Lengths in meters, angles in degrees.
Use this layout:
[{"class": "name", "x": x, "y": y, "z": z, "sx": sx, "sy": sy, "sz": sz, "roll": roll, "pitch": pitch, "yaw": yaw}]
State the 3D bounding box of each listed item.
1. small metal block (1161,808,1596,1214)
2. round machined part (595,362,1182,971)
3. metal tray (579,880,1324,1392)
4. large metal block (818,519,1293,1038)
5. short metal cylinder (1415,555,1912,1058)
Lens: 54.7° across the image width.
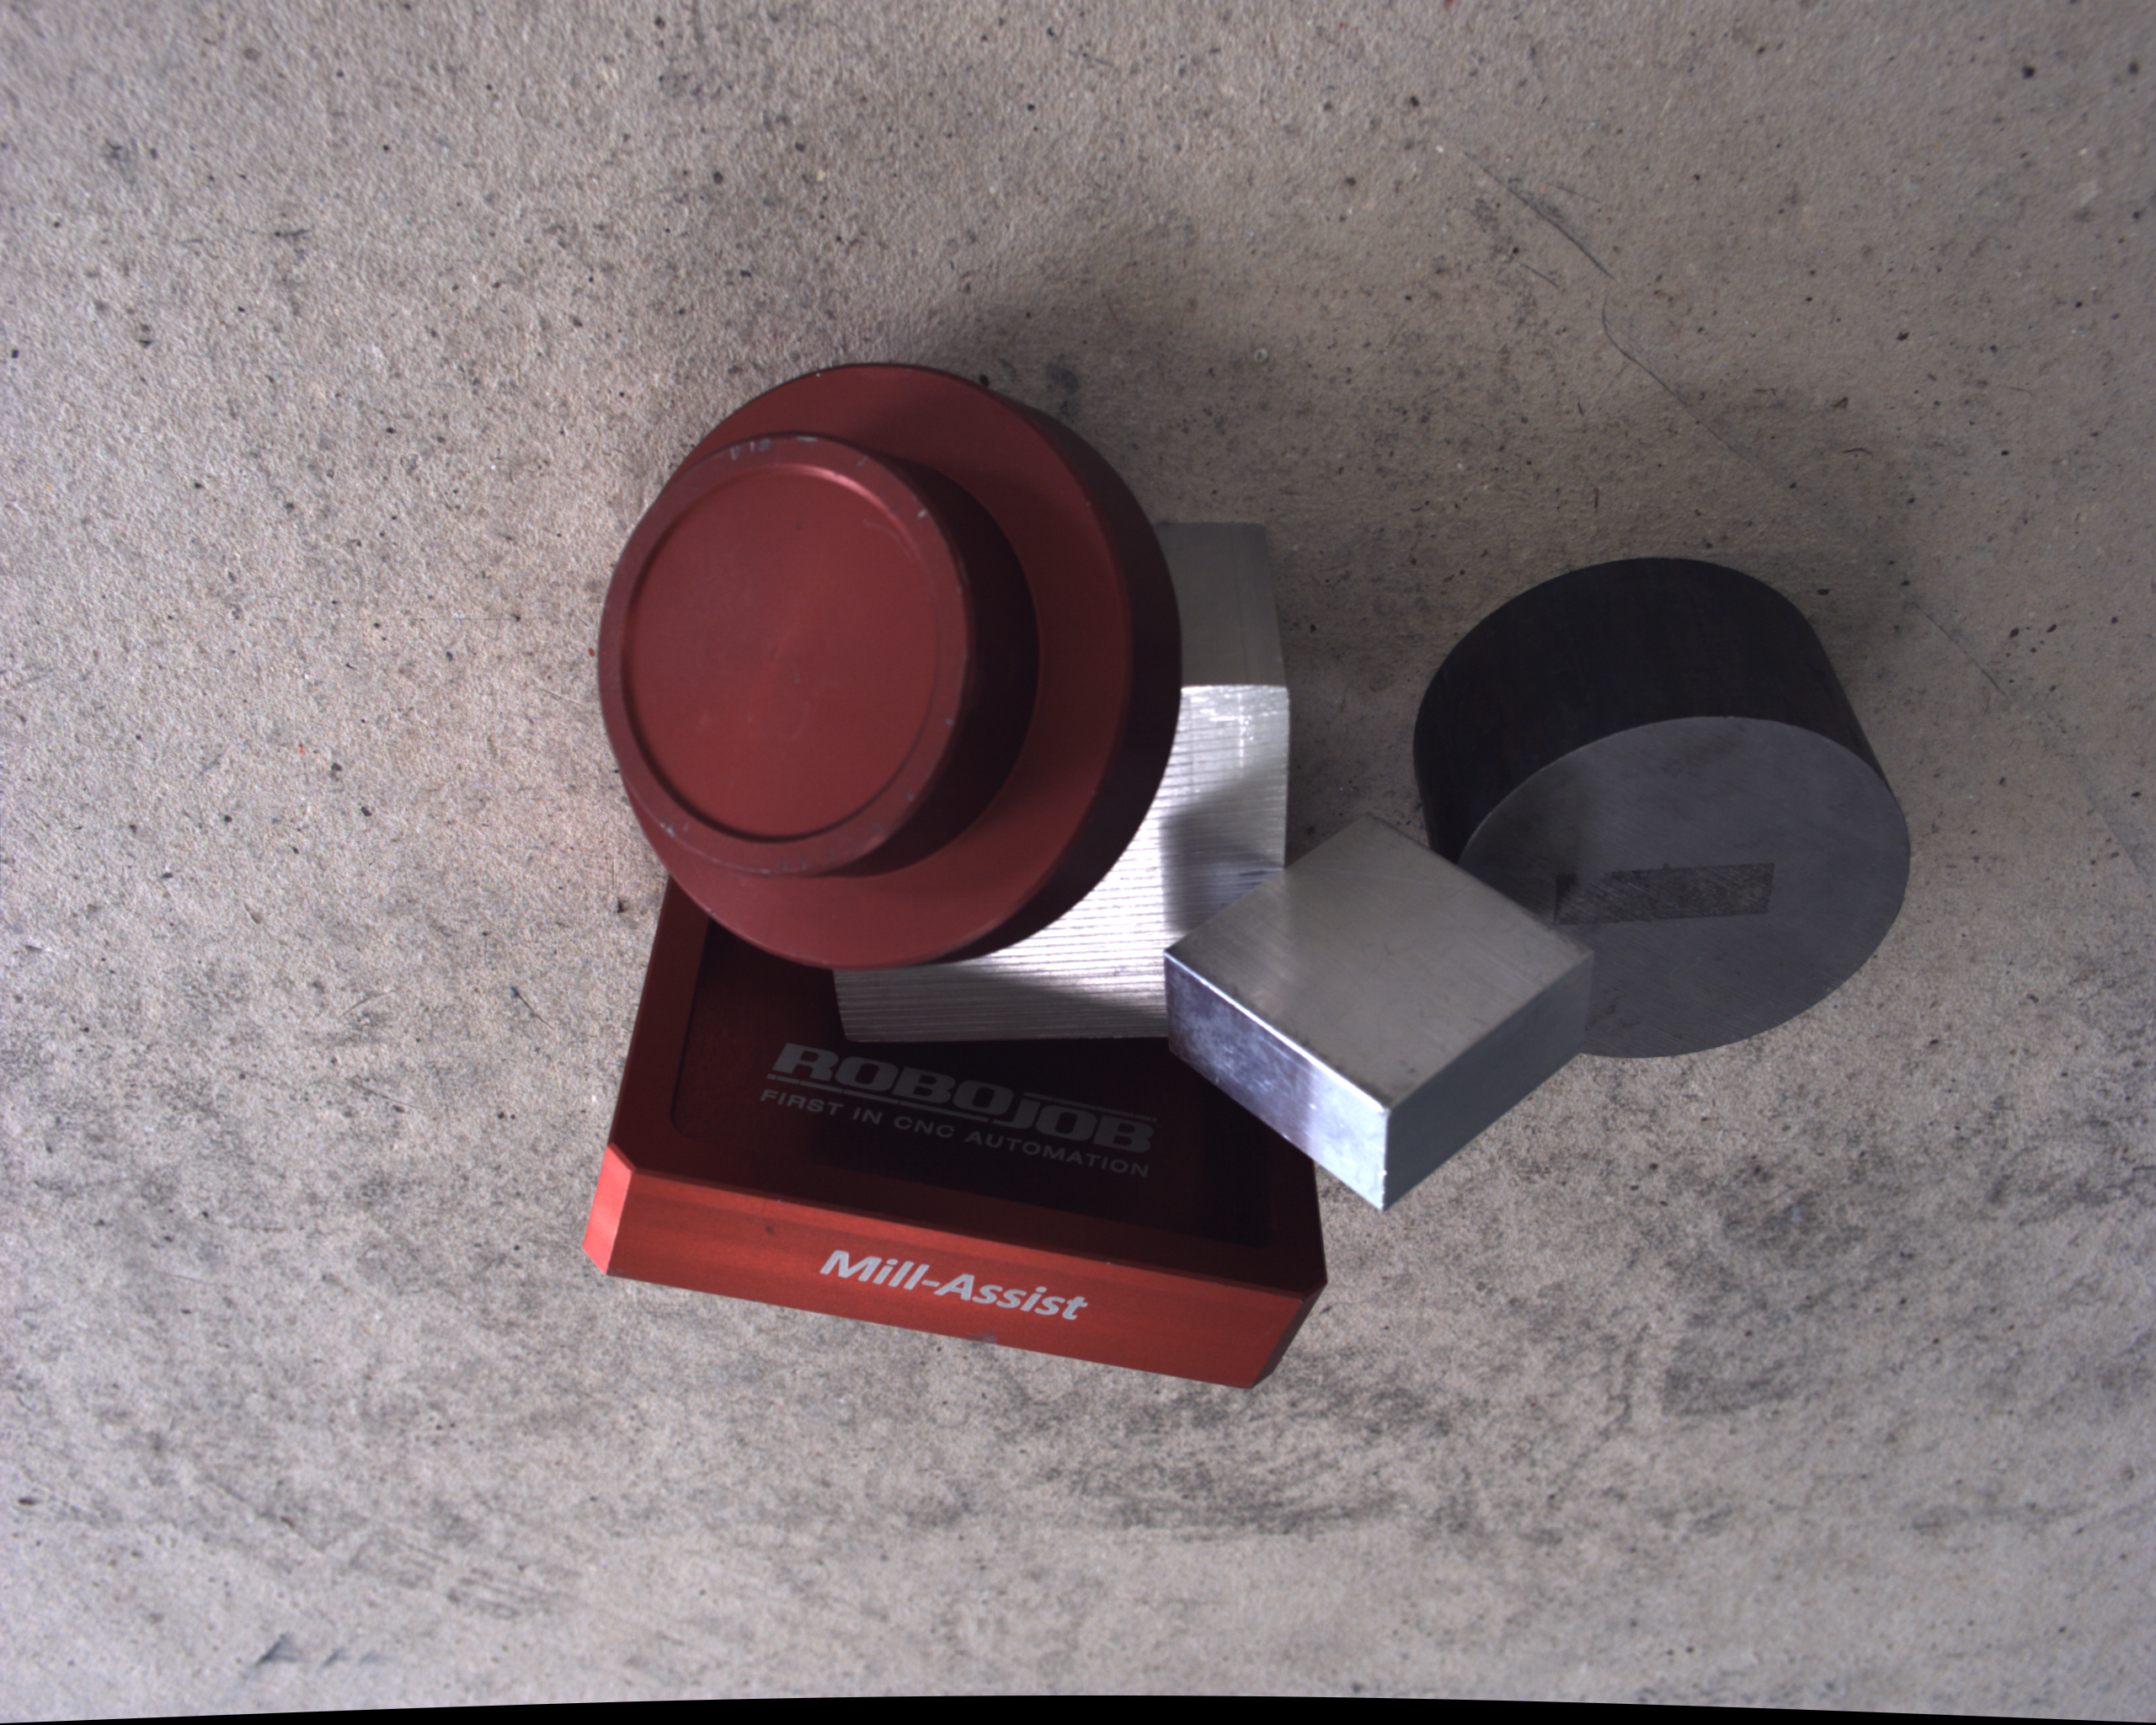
[{"class": "small metal block", "x": 0.050, "y": 0.023, "z": 0.353, "sx": 0.050, "sy": 0.050, "sz": 0.025, "roll": -33, "pitch": 139, "yaw": -27}, {"class": "round machined part", "x": -0.037, "y": -0.031, "z": 0.333, "sx": 0.098, "sy": 0.098, "sz": 0.042, "roll": -30, "pitch": 169, "yaw": 22}, {"class": "metal tray", "x": -0.022, "y": 0.047, "z": 0.405, "sx": 0.131, "sy": 0.090, "sz": 0.030, "roll": 13, "pitch": 129, "yaw": -11}, {"class": "large metal block", "x": -0.004, "y": -0.014, "z": 0.381, "sx": 0.080, "sy": 0.050, "sz": 0.079, "roll": -1, "pitch": 130, "yaw": 1}, {"class": "short metal cylinder", "x": 0.105, "y": -0.010, "z": 0.386, "sx": 0.081, "sy": 0.050, "sz": 0.079, "roll": 0, "pitch": 130, "yaw": 0}]
